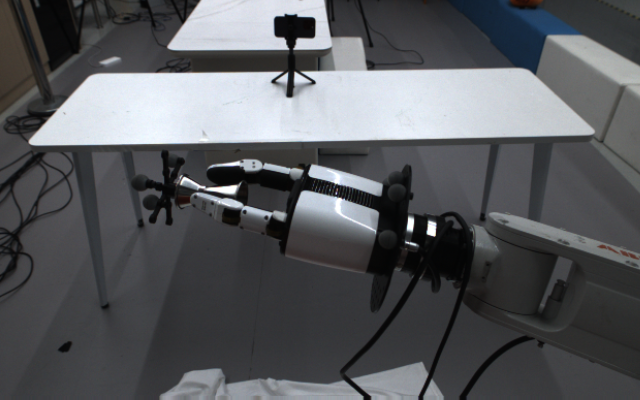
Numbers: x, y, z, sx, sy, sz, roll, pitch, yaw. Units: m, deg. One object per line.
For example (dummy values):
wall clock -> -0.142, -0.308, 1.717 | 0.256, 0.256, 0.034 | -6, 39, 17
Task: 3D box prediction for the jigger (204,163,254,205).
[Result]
jigger -> -0.108, -0.009, 0.526 | 0.071, 0.043, 0.043 | 7, 35, 7
